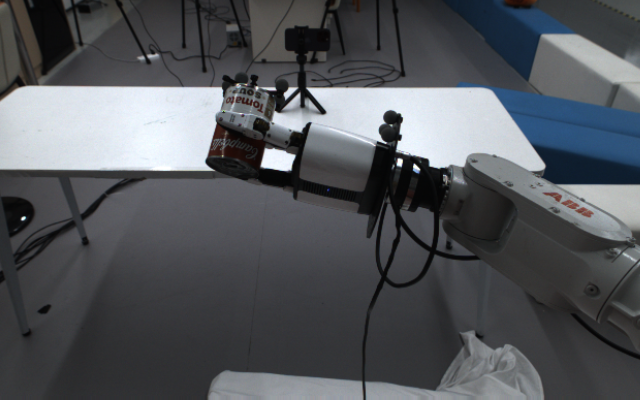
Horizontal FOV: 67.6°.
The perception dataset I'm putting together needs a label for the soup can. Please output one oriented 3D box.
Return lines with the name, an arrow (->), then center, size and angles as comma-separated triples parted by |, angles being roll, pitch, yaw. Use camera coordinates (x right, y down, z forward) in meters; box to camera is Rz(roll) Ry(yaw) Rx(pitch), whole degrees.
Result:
soup can -> -0.098, -0.086, 0.611 | 0.067, 0.067, 0.101 | 9, 74, 9
